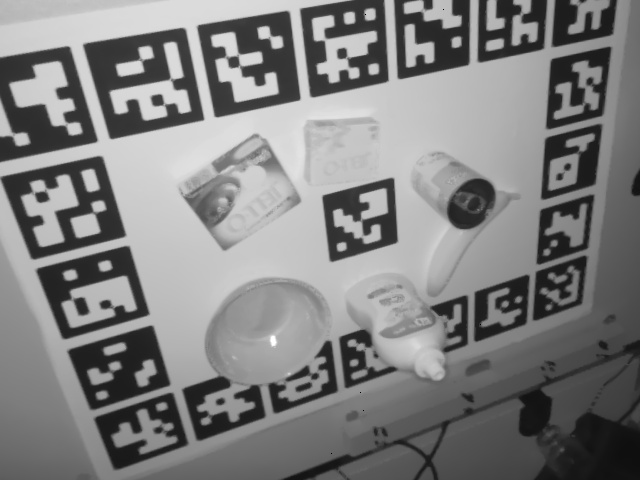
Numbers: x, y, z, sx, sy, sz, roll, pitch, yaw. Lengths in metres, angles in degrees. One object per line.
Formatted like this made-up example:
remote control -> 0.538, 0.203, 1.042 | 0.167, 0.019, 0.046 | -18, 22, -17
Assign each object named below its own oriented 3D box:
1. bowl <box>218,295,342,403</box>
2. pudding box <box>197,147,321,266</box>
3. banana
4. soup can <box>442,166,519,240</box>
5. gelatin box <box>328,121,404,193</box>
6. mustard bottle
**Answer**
bowl -> -0.056, 0.127, 0.883 | 0.163, 0.055, 0.160 | -11, 120, -18
pudding box -> -0.070, -0.039, 0.797 | 0.114, 0.038, 0.090 | -35, 118, -2
banana -> 0.240, 0.026, 0.958 | 0.075, 0.038, 0.196 | 25, 105, -41
soup can -> 0.202, -0.042, 0.859 | 0.068, 0.102, 0.067 | -9, 121, -15
gelatin box -> 0.055, -0.099, 0.822 | 0.090, 0.030, 0.073 | -9, 116, -19
mustard bottle -> 0.133, 0.137, 0.868 | 0.097, 0.191, 0.058 | -14, 124, -14
